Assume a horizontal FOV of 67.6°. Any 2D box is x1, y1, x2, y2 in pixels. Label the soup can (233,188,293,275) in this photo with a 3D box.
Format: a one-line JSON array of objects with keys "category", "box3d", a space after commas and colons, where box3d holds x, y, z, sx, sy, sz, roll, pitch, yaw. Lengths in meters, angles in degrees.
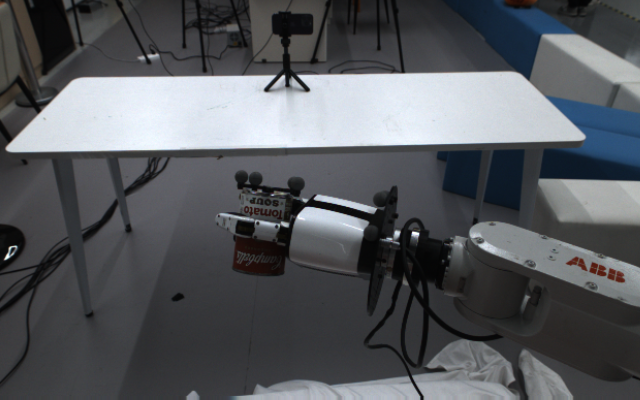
[{"category": "soup can", "box3d": [-0.071, 0.041, 0.615, 0.067, 0.101, 0.067, 7, 3, 0]}]
